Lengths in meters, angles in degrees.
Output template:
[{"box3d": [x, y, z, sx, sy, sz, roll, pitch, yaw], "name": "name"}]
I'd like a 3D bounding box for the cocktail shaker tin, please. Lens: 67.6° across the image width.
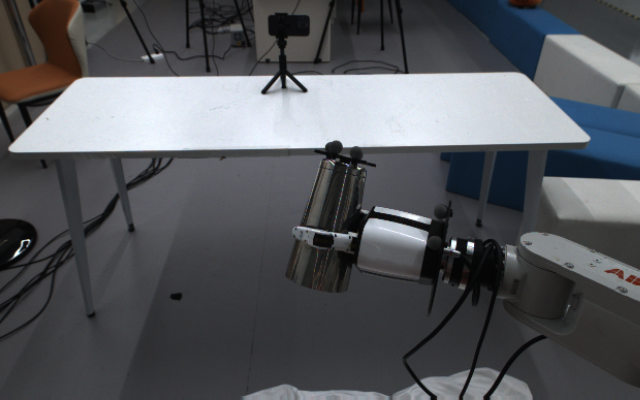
[{"box3d": [0.015, 0.033, 0.678, 0.093, 0.170, 0.093, 13, 4, -1], "name": "cocktail shaker tin"}]
